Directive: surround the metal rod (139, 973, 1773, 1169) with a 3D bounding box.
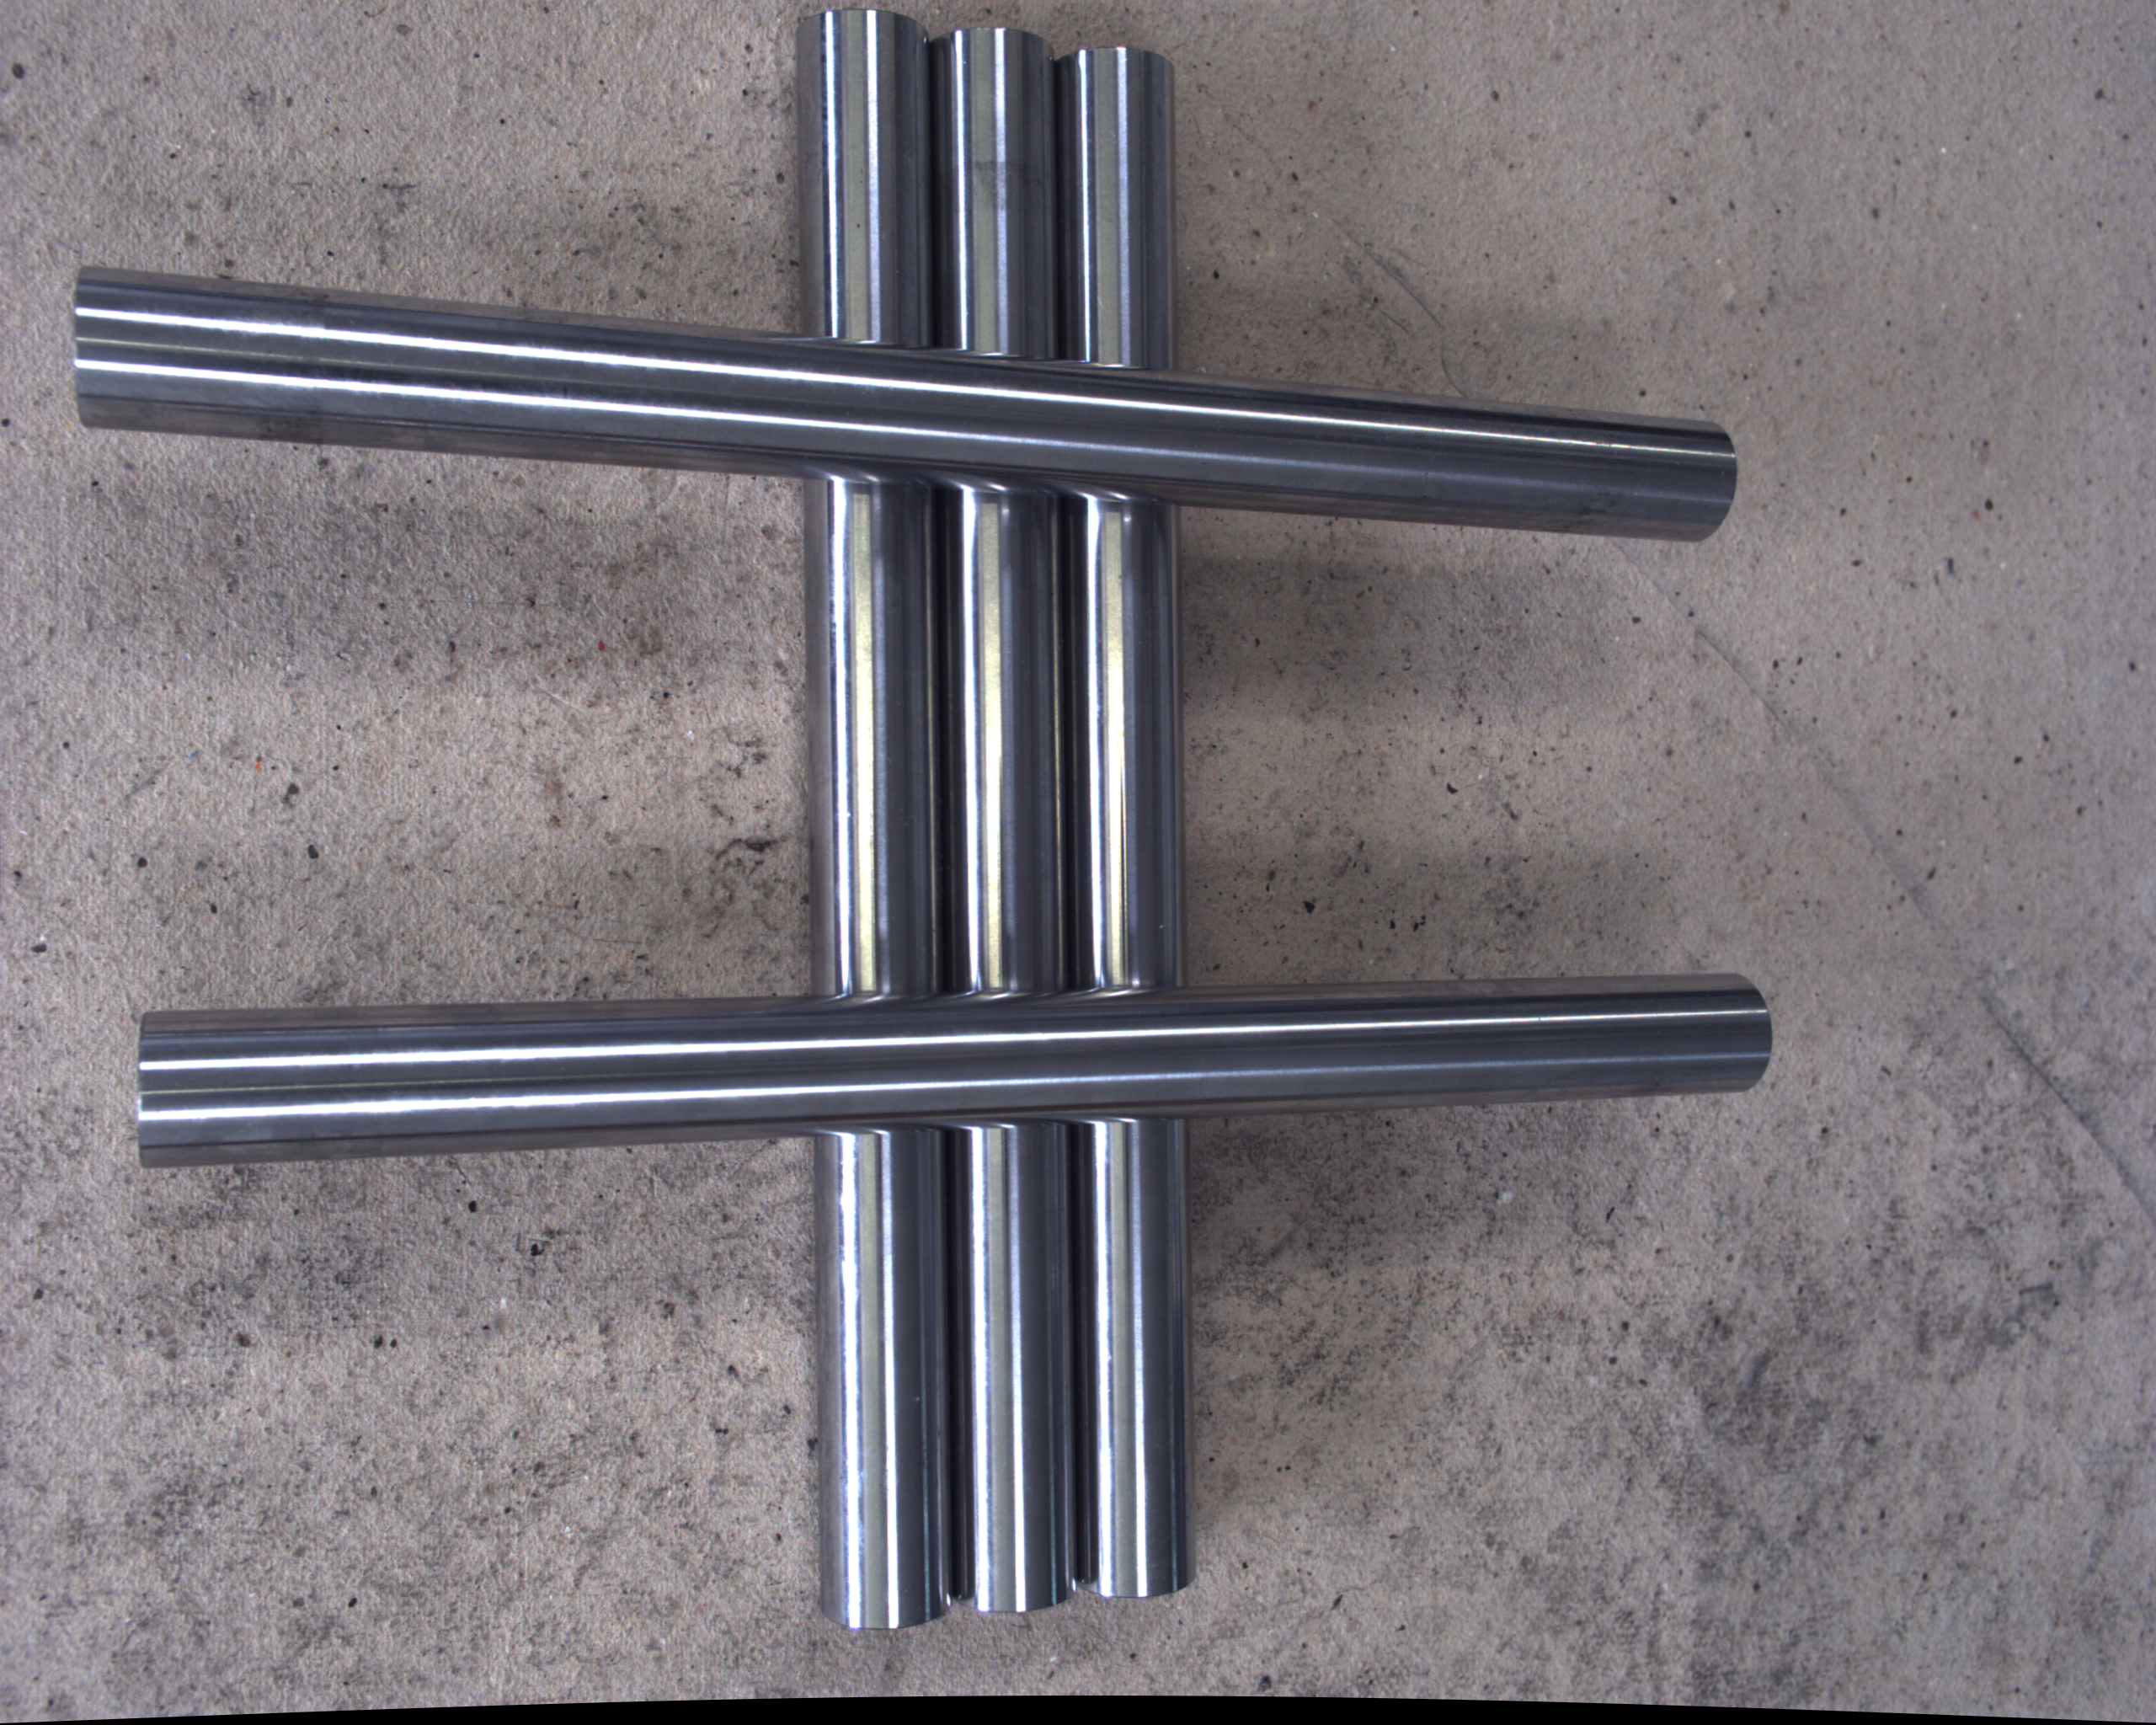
[{"bbox_3d":[-0.005,0.036,0.382,0.302,0.025,0.025,0,90,-20],"label":"metal rod"}]

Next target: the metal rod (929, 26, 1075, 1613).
[{"bbox_3d":[-0.015,-0.008,0.404,0.025,0.025,0.298,-1,90,-20],"label":"metal rod"}]

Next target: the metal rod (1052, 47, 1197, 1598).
[{"bbox_3d":[0.009,-0.007,0.413,0.025,0.025,0.298,-1,90,-20],"label":"metal rod"}]

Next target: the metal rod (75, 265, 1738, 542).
[{"bbox_3d":[-0.014,-0.080,0.378,0.302,0.025,0.025,0,90,-20],"label":"metal rod"}]

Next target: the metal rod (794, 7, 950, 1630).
[{"bbox_3d":[-0.039,-0.008,0.396,0.025,0.025,0.298,-1,91,-20],"label":"metal rod"}]
